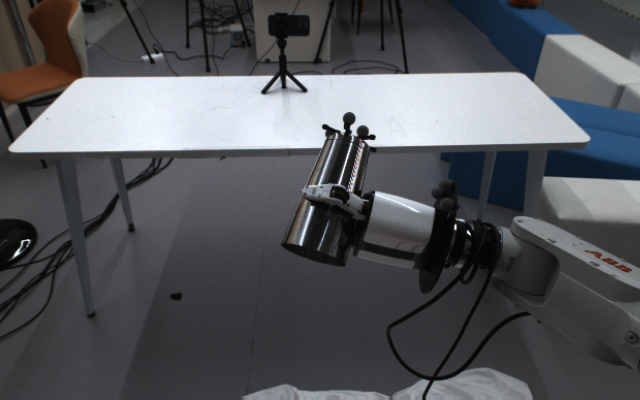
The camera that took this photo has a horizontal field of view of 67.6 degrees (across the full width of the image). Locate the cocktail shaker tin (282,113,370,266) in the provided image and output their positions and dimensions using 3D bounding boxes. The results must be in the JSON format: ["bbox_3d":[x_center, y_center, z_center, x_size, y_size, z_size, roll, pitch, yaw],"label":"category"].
[{"bbox_3d":[0.015,-0.003,0.672,0.093,0.093,0.170,14,74,16],"label":"cocktail shaker tin"}]
